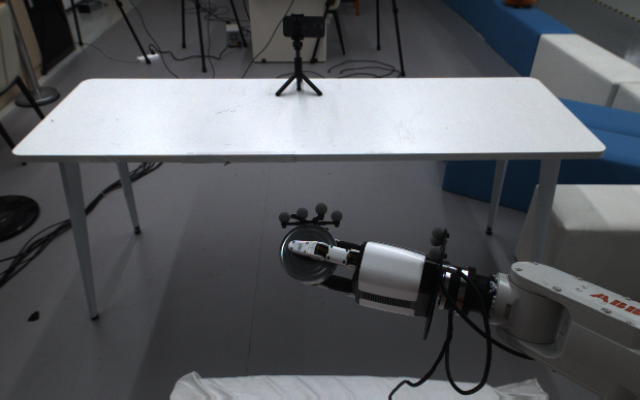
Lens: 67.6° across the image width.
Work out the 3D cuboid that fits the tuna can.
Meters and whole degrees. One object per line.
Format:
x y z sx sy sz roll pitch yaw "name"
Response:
-0.013 0.085 0.708 0.085 0.034 0.085 -2 69 6 "tuna can"
